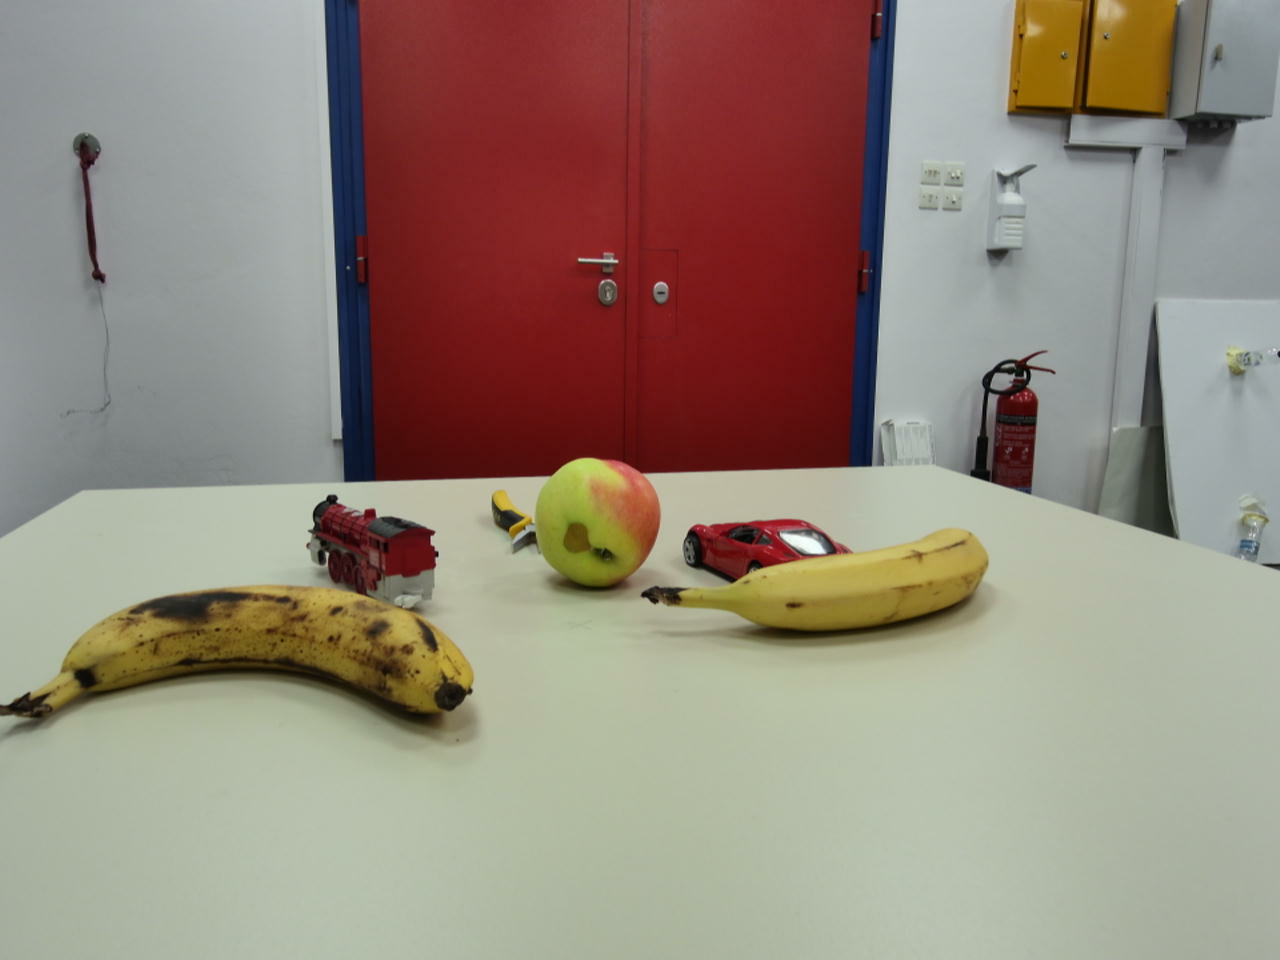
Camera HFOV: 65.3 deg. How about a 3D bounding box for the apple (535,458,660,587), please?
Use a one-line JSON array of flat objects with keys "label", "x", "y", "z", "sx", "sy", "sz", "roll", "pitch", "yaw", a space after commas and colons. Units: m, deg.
[{"label": "apple", "x": -0.025, "y": 0.025, "z": 0.592, "sx": 0.075, "sy": 0.074, "sz": 0.075, "roll": -4, "pitch": 9, "yaw": -32}]
